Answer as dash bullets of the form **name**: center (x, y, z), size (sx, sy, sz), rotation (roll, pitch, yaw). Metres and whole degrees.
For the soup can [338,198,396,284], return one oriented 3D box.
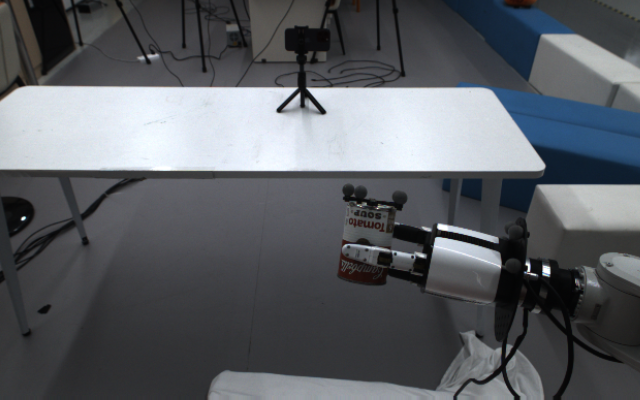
- **soup can**: center (0.065, 0.056, 0.650), size (0.067, 0.101, 0.067), rotation (7, 4, 0)
